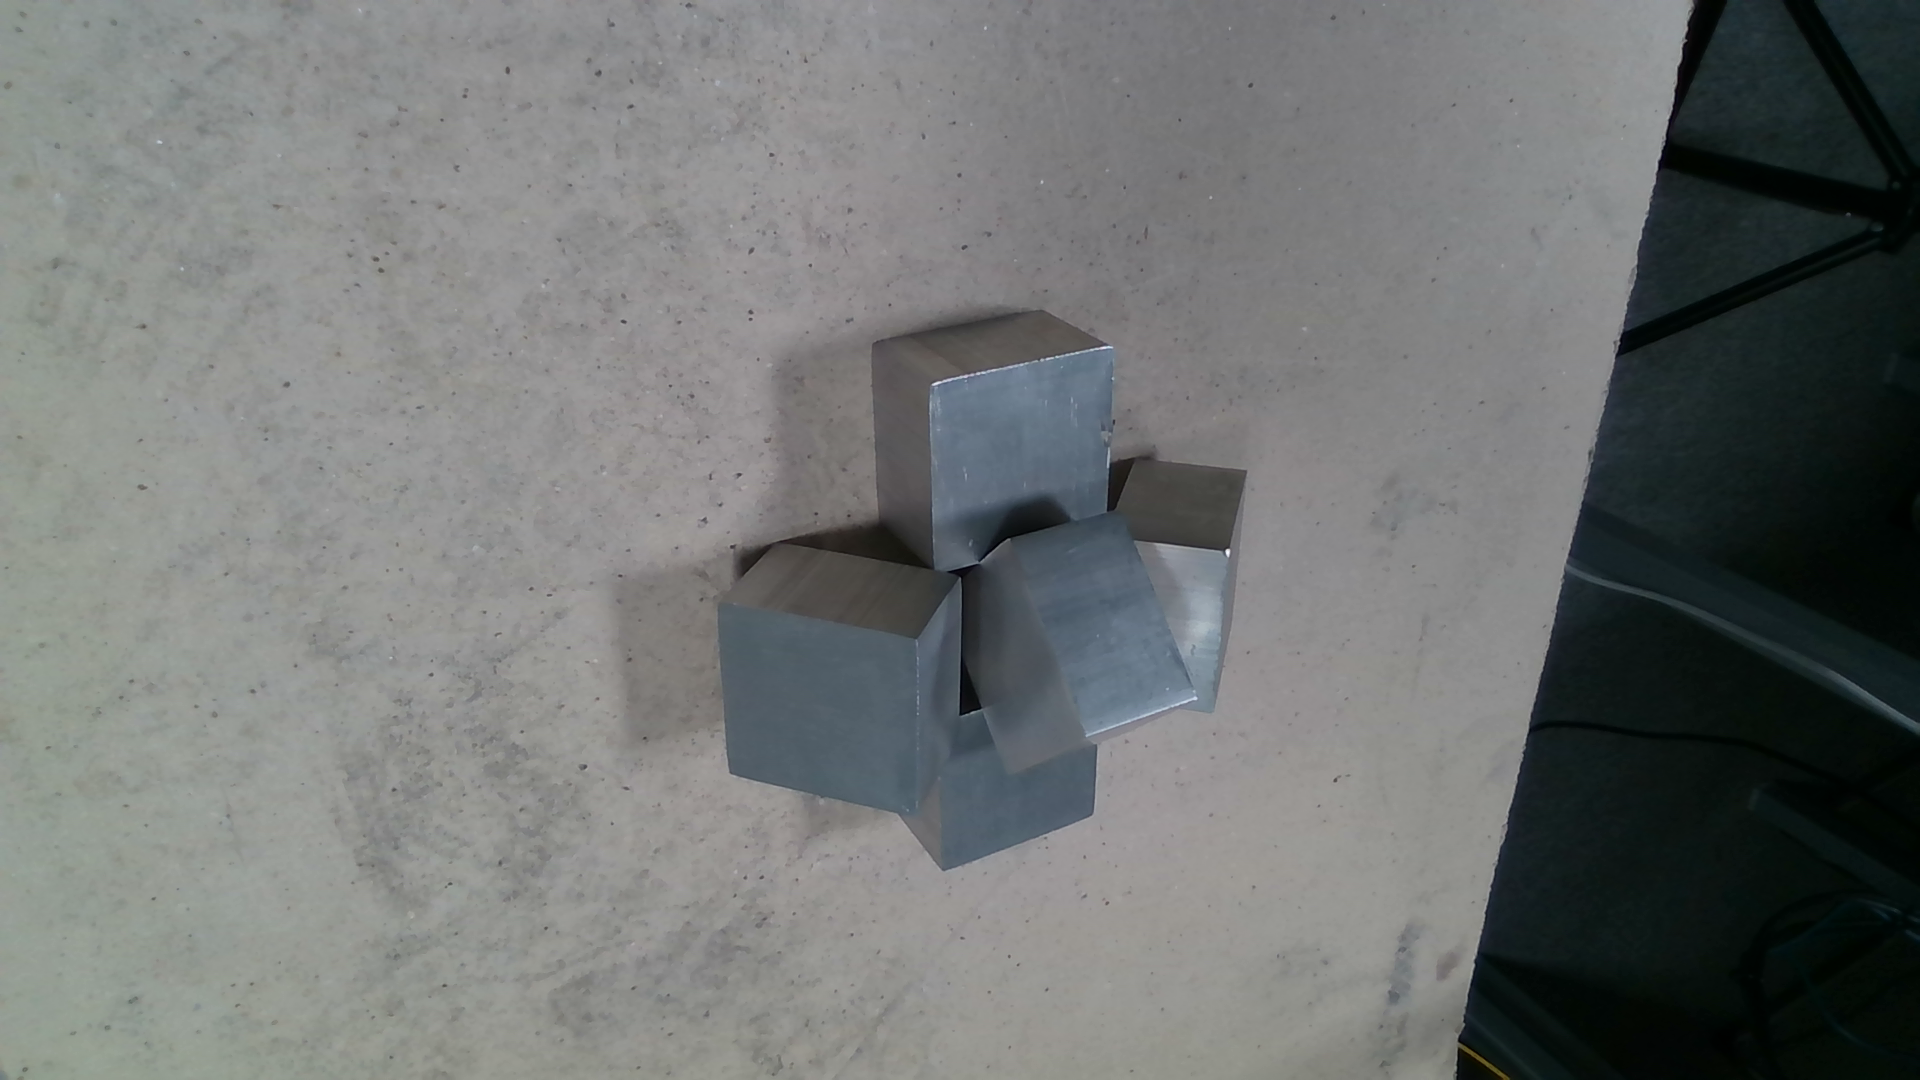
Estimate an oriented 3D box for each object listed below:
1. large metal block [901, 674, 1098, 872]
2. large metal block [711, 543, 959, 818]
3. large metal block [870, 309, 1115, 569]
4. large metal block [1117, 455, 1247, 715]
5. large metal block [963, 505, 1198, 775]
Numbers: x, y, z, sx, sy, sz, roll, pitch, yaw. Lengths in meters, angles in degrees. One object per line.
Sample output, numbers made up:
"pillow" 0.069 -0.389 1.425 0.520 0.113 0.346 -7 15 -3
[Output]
"large metal block" 0.015 0.091 0.619 0.080 0.050 0.080 -14 121 -25
"large metal block" -0.047 0.053 0.538 0.050 0.080 0.080 -54 149 -58
"large metal block" 0.013 -0.041 0.550 0.080 0.050 0.080 -15 122 -24
"large metal block" 0.094 0.018 0.605 0.050 0.080 0.080 7 119 14
"large metal block" 0.041 0.042 0.551 0.050 0.080 0.080 -15 77 -24
